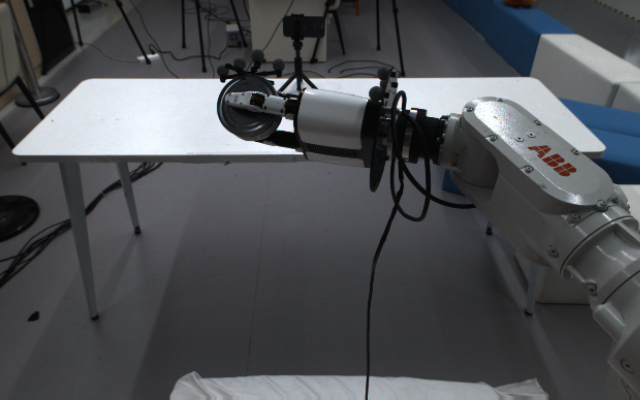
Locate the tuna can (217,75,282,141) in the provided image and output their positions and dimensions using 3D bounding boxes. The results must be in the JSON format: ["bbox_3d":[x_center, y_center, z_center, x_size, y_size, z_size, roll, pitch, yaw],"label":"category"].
[{"bbox_3d":[-0.092,-0.124,0.661,0.085,0.085,0.034,10,-6,11],"label":"tuna can"}]
